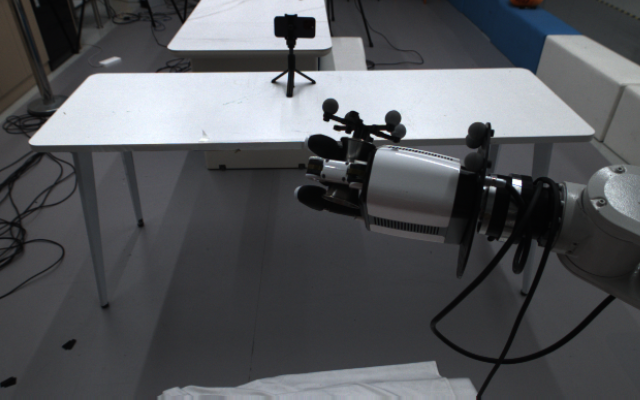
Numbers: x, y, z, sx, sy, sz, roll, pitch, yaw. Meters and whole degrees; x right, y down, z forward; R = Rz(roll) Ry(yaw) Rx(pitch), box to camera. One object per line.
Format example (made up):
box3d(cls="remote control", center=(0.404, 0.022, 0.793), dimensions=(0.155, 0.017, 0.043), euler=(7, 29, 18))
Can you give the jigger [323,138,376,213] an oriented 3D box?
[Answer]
box3d(cls="jigger", center=(0.035, -0.029, 0.523), dimensions=(0.043, 0.071, 0.043), euler=(16, -7, 2))
